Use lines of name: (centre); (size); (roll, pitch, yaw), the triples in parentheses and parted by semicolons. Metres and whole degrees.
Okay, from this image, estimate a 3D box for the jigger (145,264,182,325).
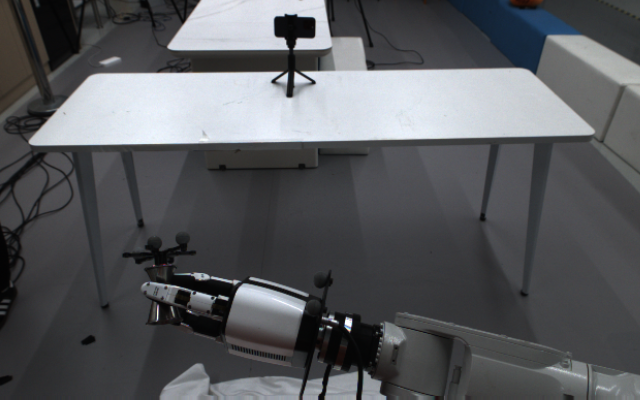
jigger: (-0.192, 0.117, 0.597); (0.043, 0.043, 0.071); (-6, 73, -12)
